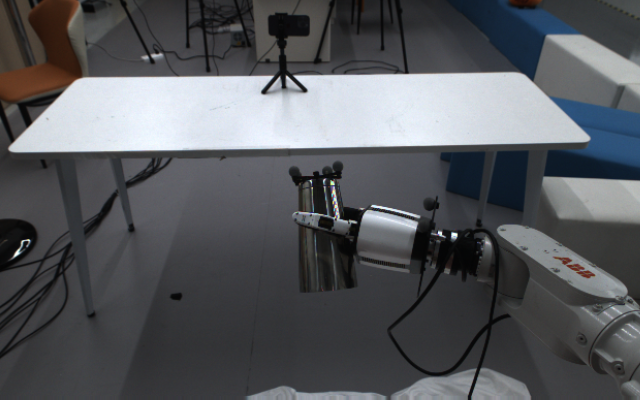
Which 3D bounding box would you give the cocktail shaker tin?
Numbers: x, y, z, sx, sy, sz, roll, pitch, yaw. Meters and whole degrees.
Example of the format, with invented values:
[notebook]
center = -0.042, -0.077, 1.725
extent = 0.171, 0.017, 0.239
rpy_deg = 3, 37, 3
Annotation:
[cocktail shaker tin]
center = 0.005, 0.056, 0.766
extent = 0.093, 0.170, 0.093
rpy_deg = -6, -7, -1
